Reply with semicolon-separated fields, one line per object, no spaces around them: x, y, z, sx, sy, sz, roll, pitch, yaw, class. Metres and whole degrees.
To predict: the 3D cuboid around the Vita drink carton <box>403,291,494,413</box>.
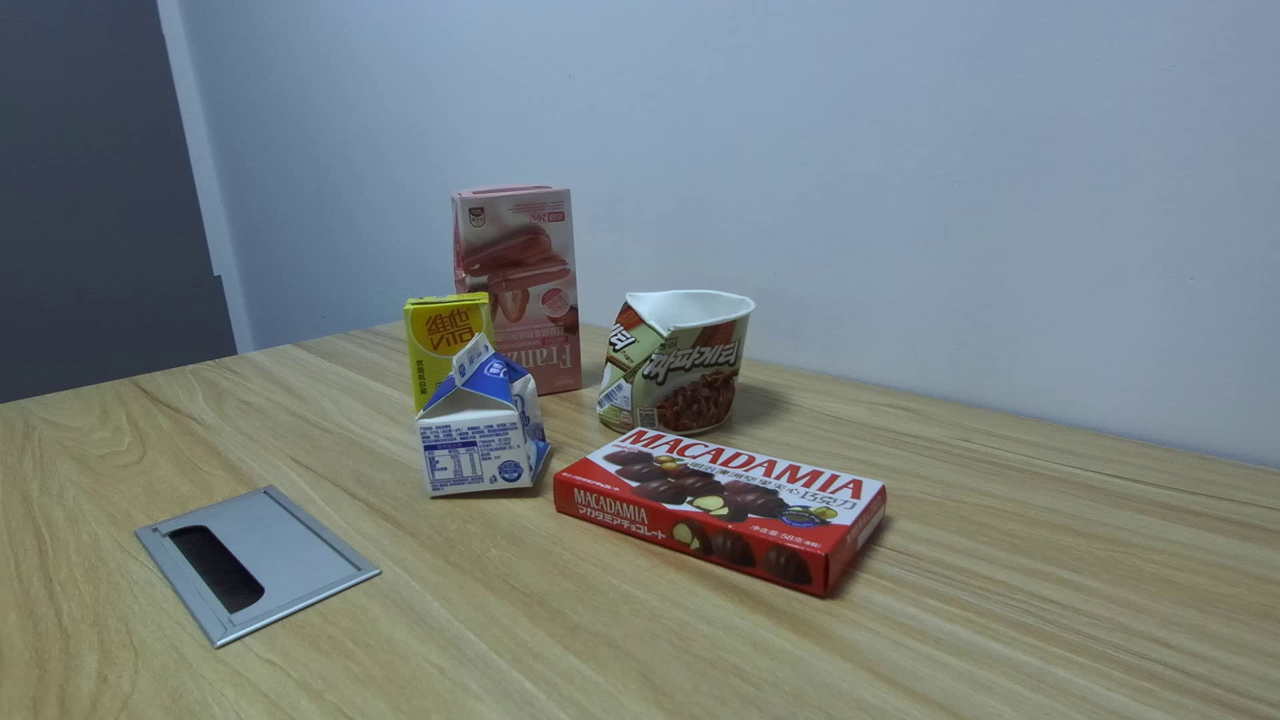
-0.148;0.005;0.566;0.067;0.109;0.043;-7;16;-14;Vita drink carton

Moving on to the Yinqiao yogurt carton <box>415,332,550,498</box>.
-0.107;0.035;0.485;0.071;0.094;0.077;-6;16;6;Yinqiao yogurt carton

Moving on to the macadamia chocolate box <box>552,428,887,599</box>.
0.045;0.082;0.425;0.177;0.027;0.096;10;19;34;macadamia chocolate box

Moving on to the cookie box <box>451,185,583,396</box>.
-0.112;-0.059;0.635;0.105;0.187;0.048;-8;19;-18;cookie box
